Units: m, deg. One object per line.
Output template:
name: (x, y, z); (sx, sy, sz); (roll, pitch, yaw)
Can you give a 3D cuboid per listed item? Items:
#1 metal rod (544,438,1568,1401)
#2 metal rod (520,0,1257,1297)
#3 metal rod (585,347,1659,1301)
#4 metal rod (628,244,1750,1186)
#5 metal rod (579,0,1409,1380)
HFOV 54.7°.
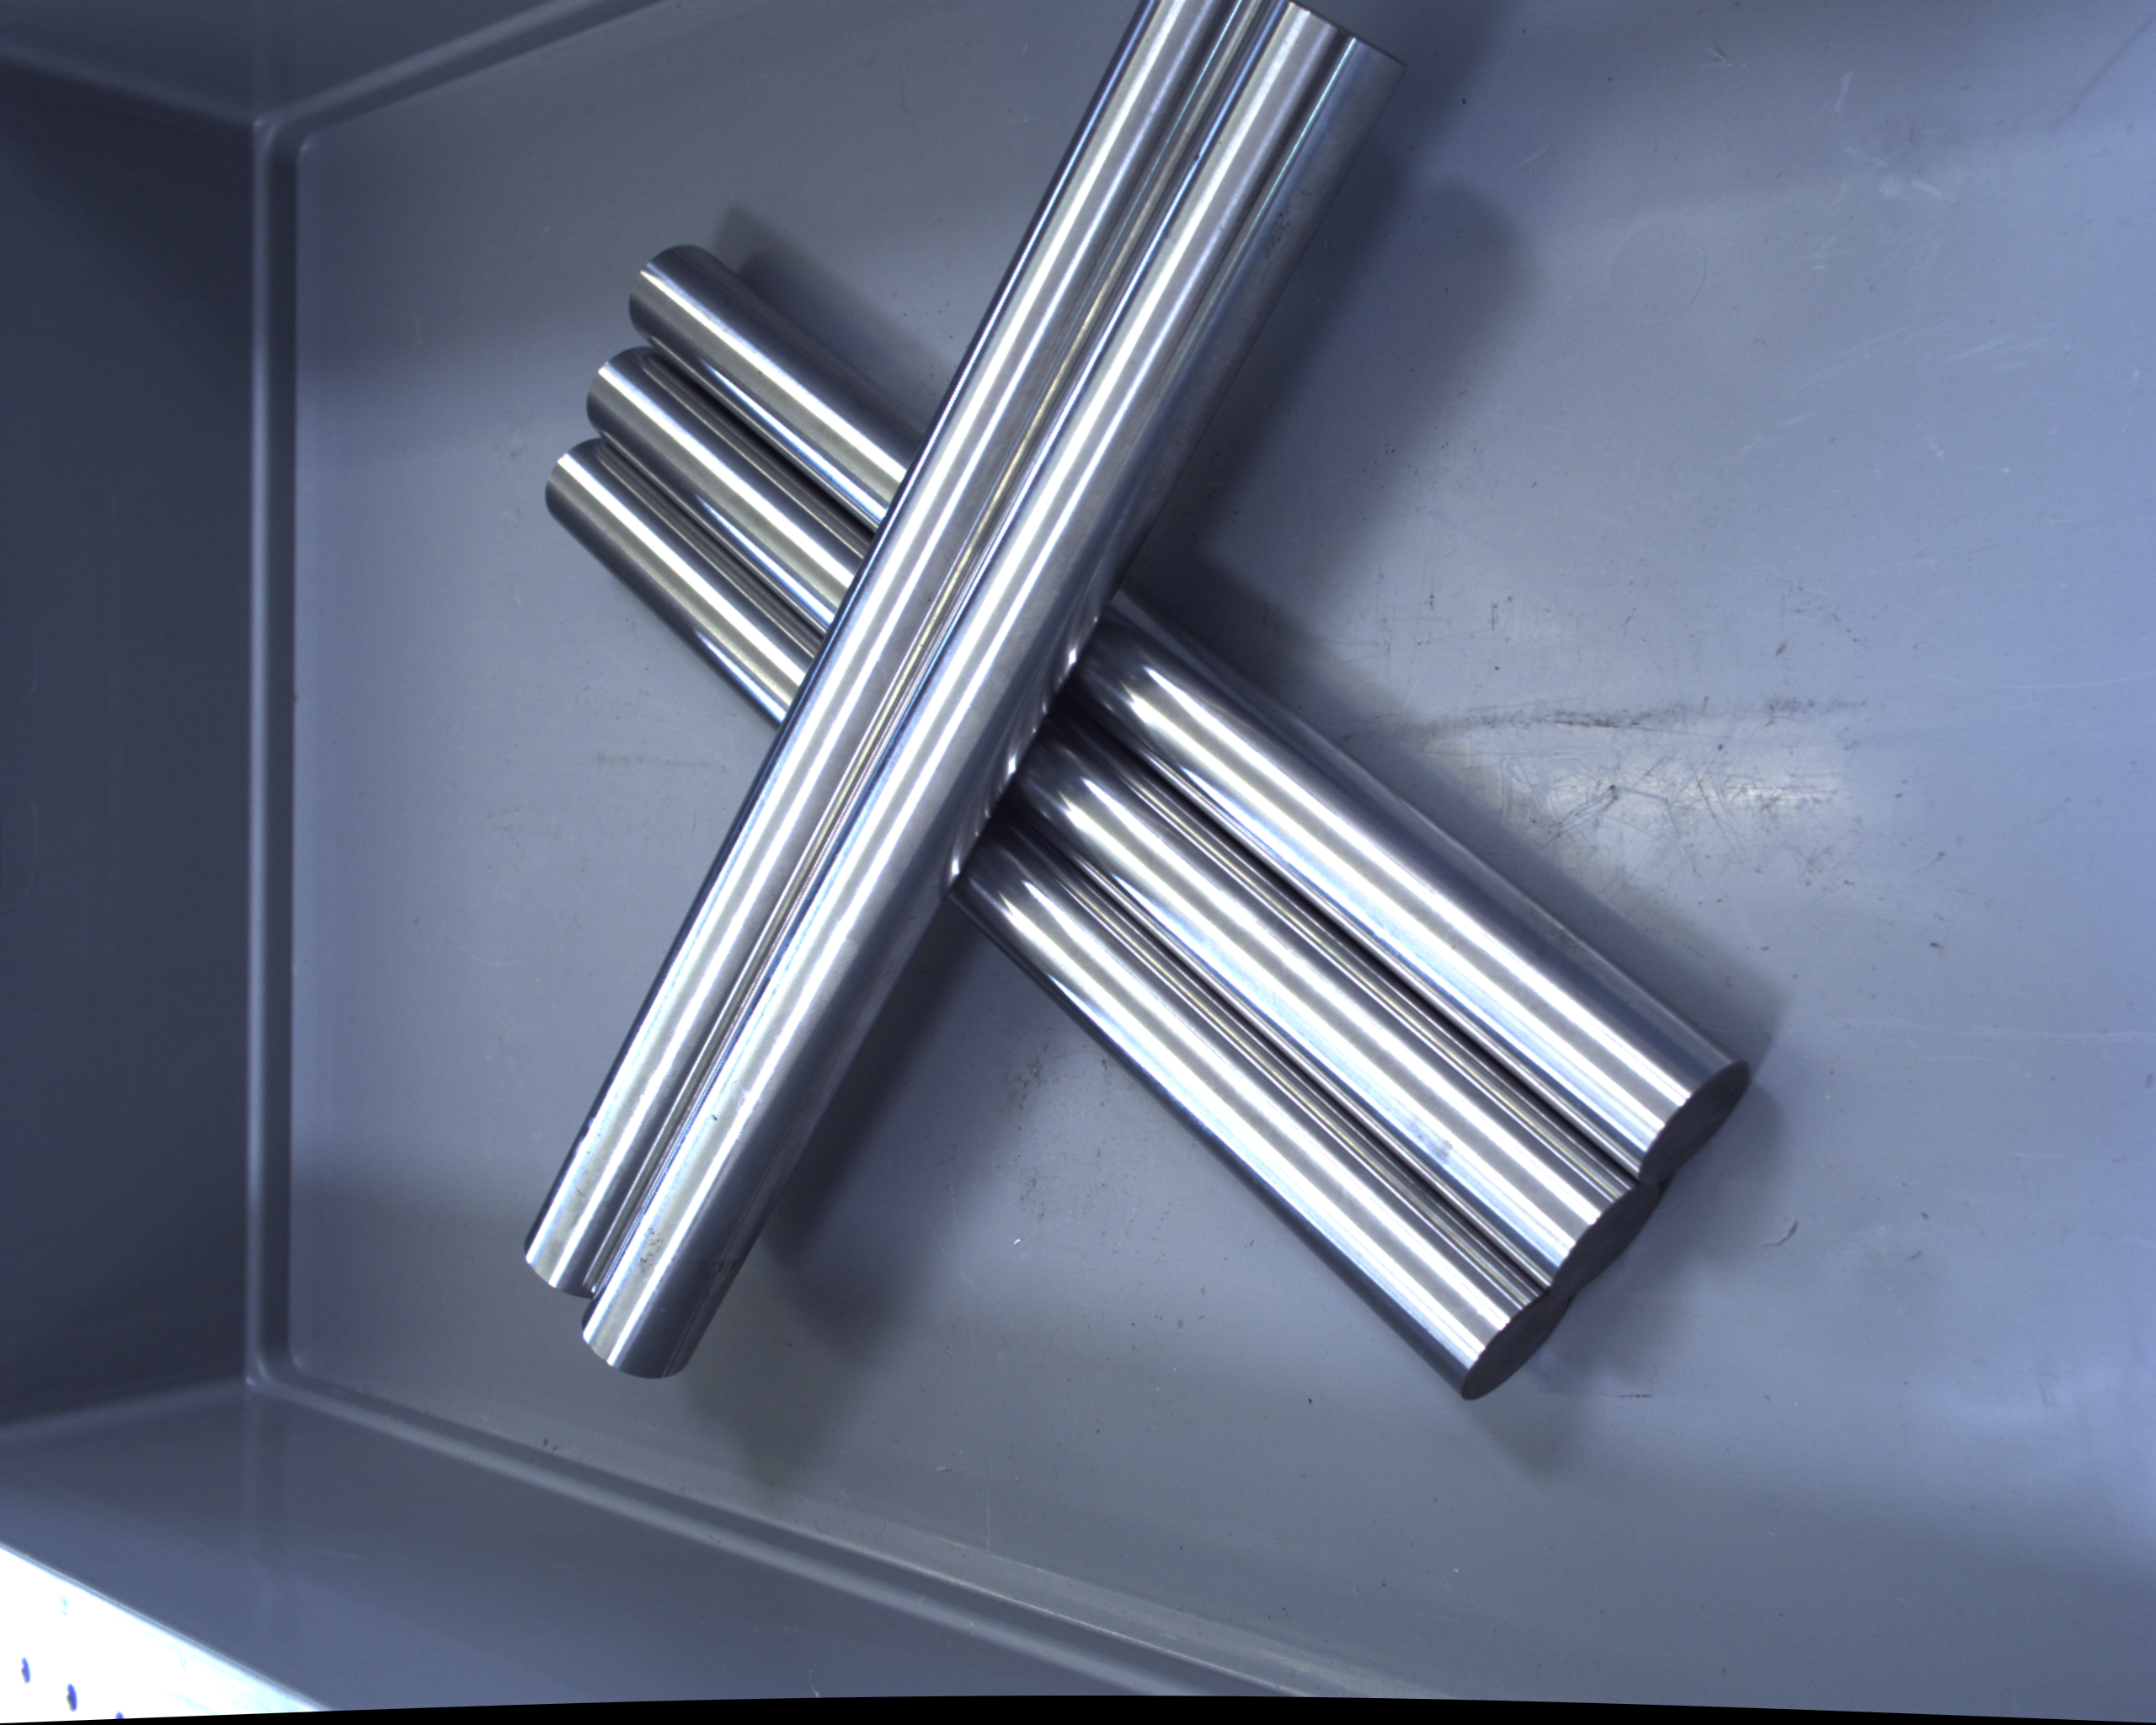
metal rod: (-0.022, -0.006, 0.423); (0.300, 0.025, 0.025); (42, 116, 32)
metal rod: (-0.043, -0.031, 0.408); (0.025, 0.025, 0.298); (45, 117, 31)
metal rod: (-0.010, -0.025, 0.413); (0.300, 0.025, 0.025); (42, 116, 32)
metal rod: (0.002, -0.045, 0.404); (0.300, 0.025, 0.025); (42, 116, 31)
metal rod: (-0.027, -0.016, 0.395); (0.025, 0.025, 0.298); (45, 117, 31)
